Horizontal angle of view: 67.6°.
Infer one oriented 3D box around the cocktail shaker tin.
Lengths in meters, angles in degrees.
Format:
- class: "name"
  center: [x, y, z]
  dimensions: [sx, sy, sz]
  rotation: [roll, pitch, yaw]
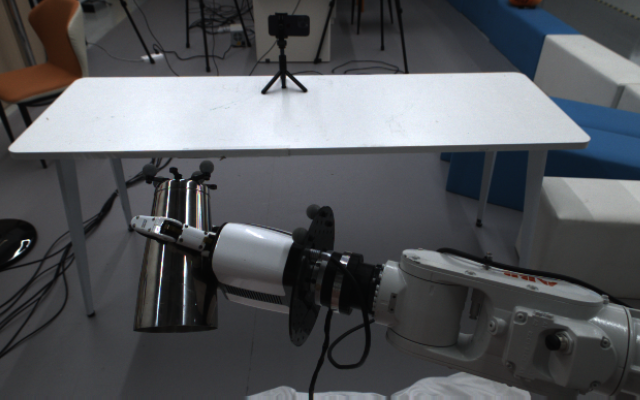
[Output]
- class: "cocktail shaker tin"
  center: [-0.164, 0.068, 0.574]
  dimensions: [0.093, 0.093, 0.170]
  rotation: [-3, 72, -7]
